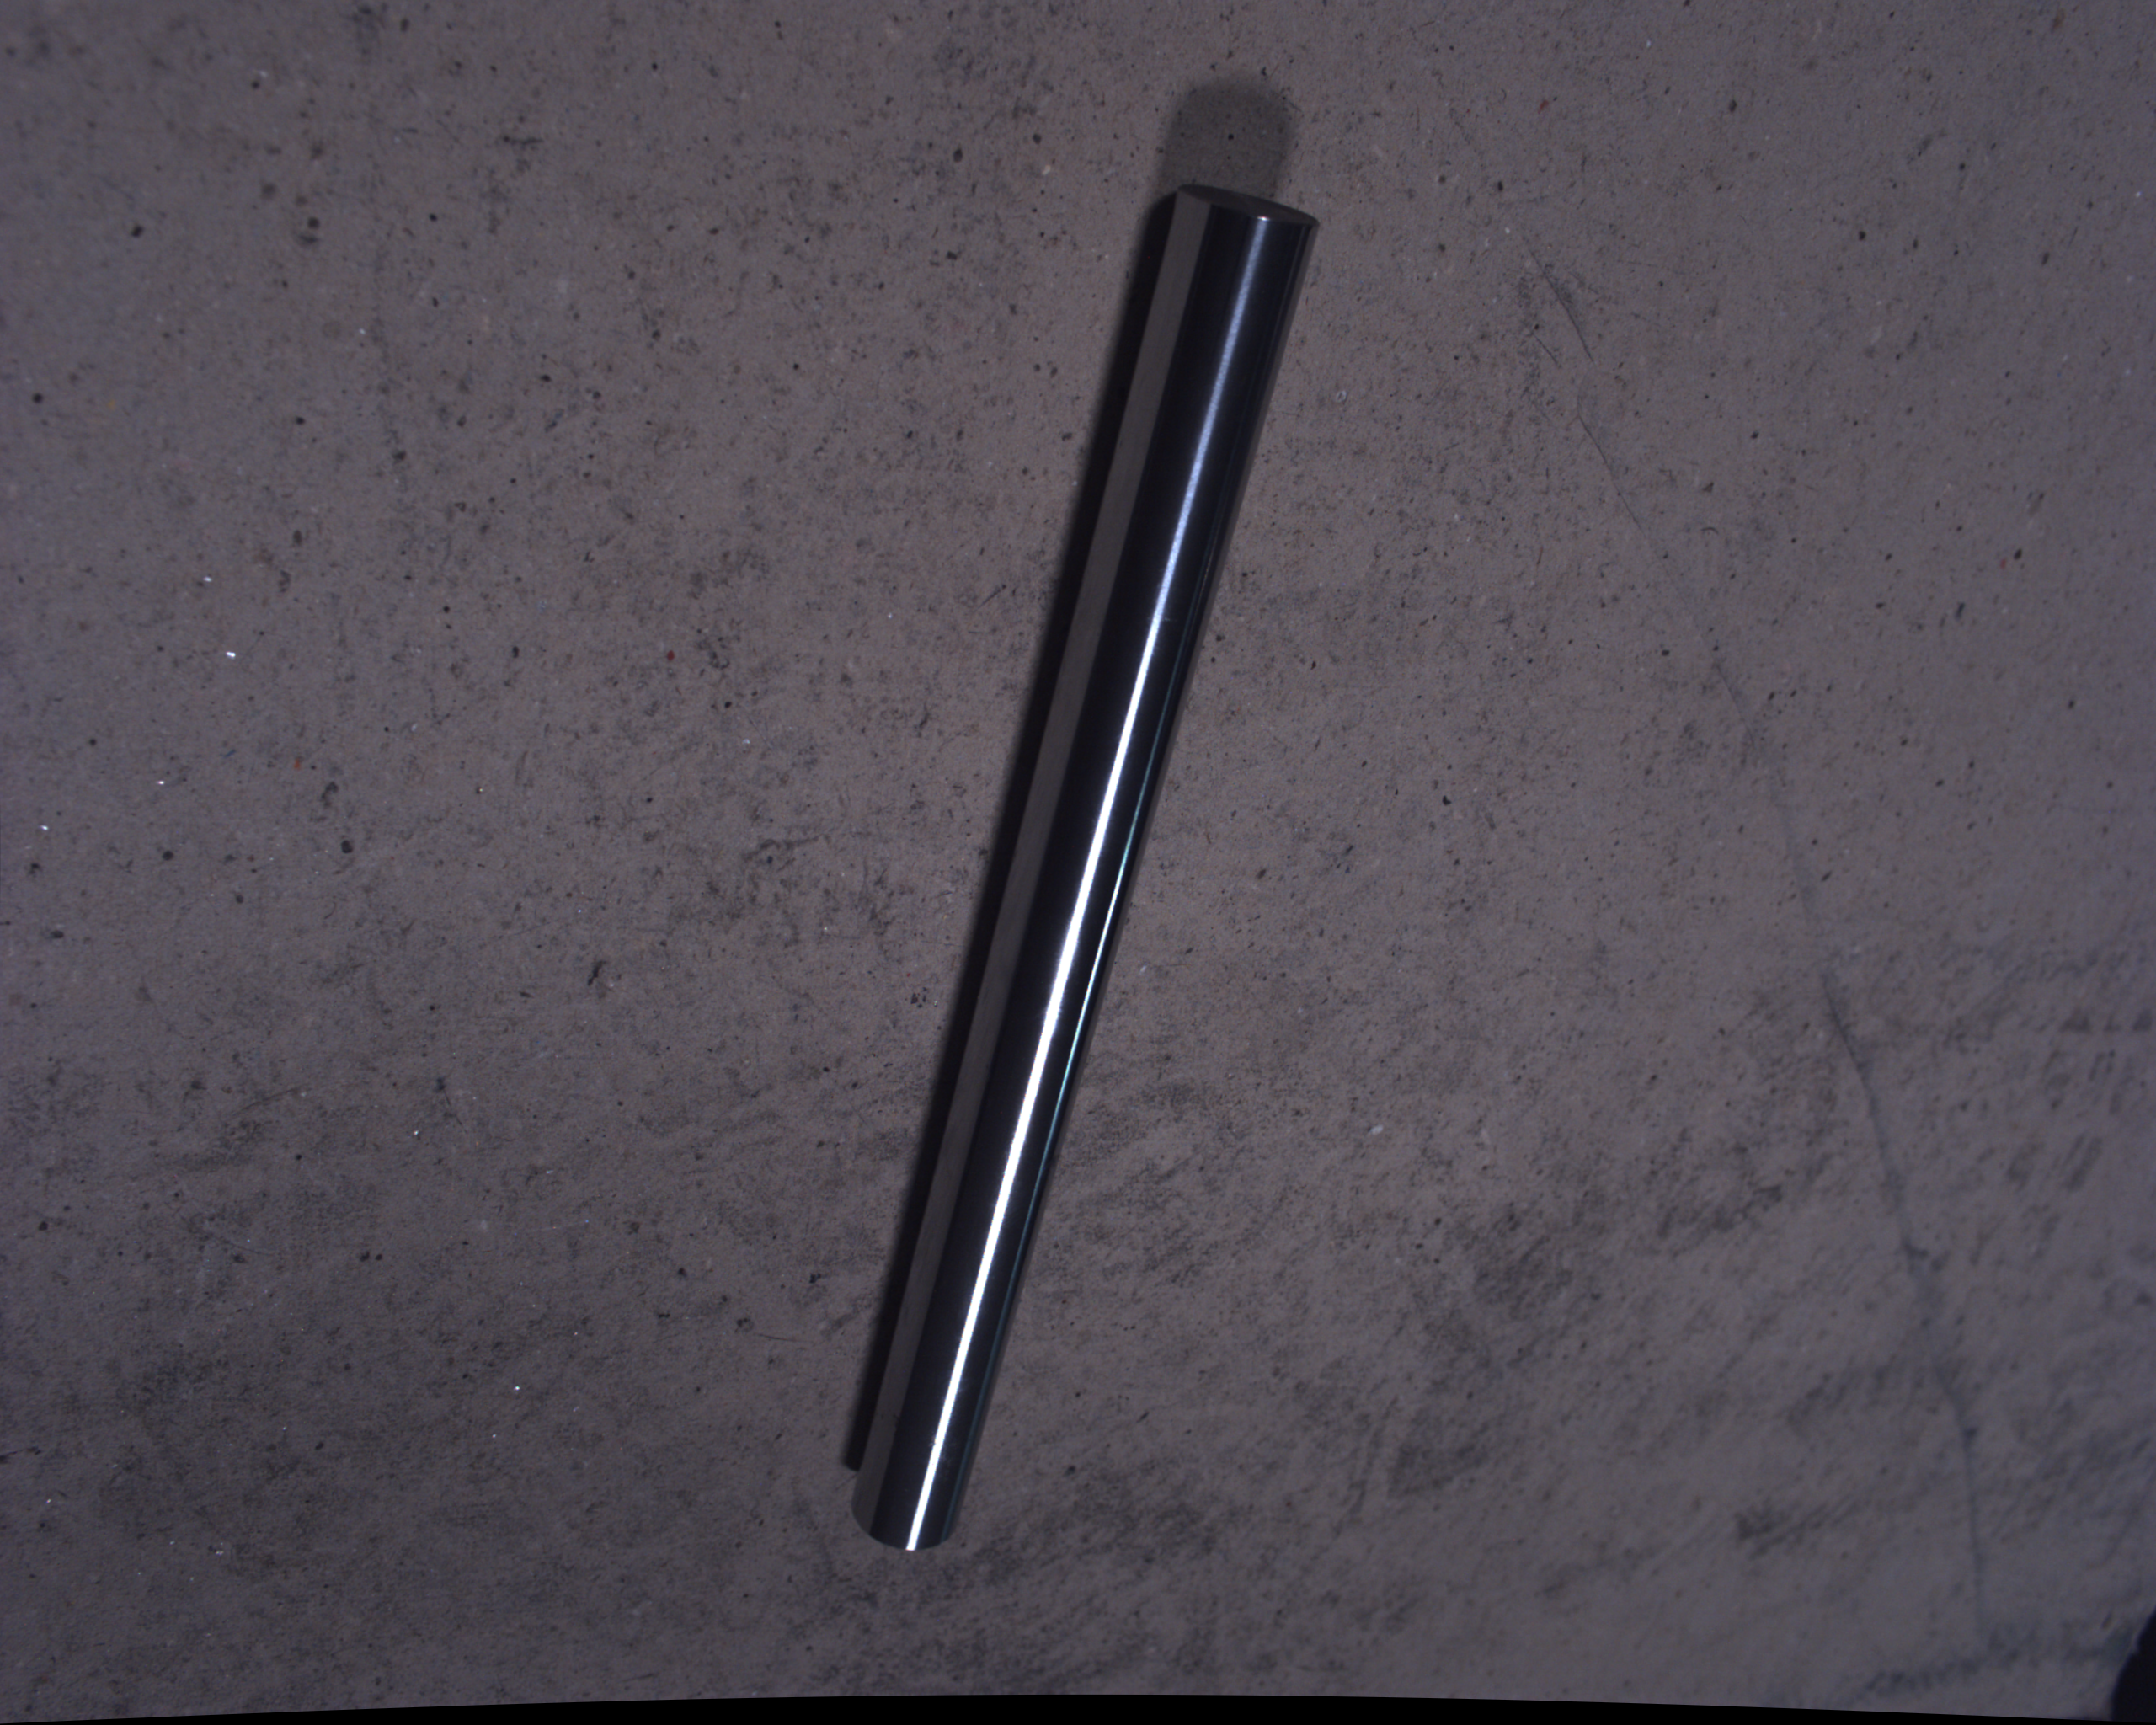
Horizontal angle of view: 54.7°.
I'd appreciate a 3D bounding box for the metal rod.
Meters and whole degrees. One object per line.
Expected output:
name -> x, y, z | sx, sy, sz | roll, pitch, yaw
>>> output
metal rod -> -0.006, 0.019, 0.418 | 0.025, 0.025, 0.298 | 0, 118, -29
